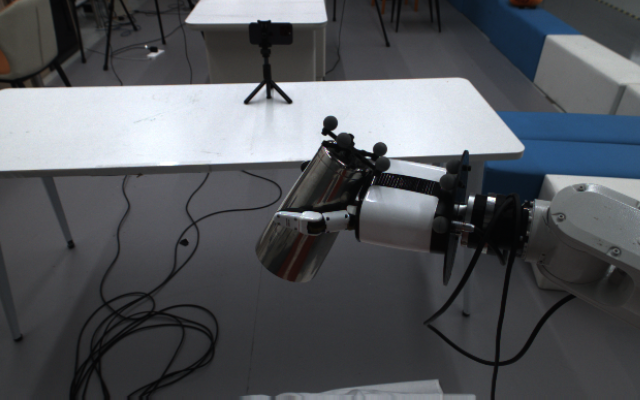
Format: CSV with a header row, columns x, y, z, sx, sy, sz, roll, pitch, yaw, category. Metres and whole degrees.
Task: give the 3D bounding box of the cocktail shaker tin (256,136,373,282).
x,y,z,sx,sy,sz,roll,pitch,yaw,category
-0.004,0.009,0.616,0.093,0.170,0.093,25,29,-15,cocktail shaker tin
